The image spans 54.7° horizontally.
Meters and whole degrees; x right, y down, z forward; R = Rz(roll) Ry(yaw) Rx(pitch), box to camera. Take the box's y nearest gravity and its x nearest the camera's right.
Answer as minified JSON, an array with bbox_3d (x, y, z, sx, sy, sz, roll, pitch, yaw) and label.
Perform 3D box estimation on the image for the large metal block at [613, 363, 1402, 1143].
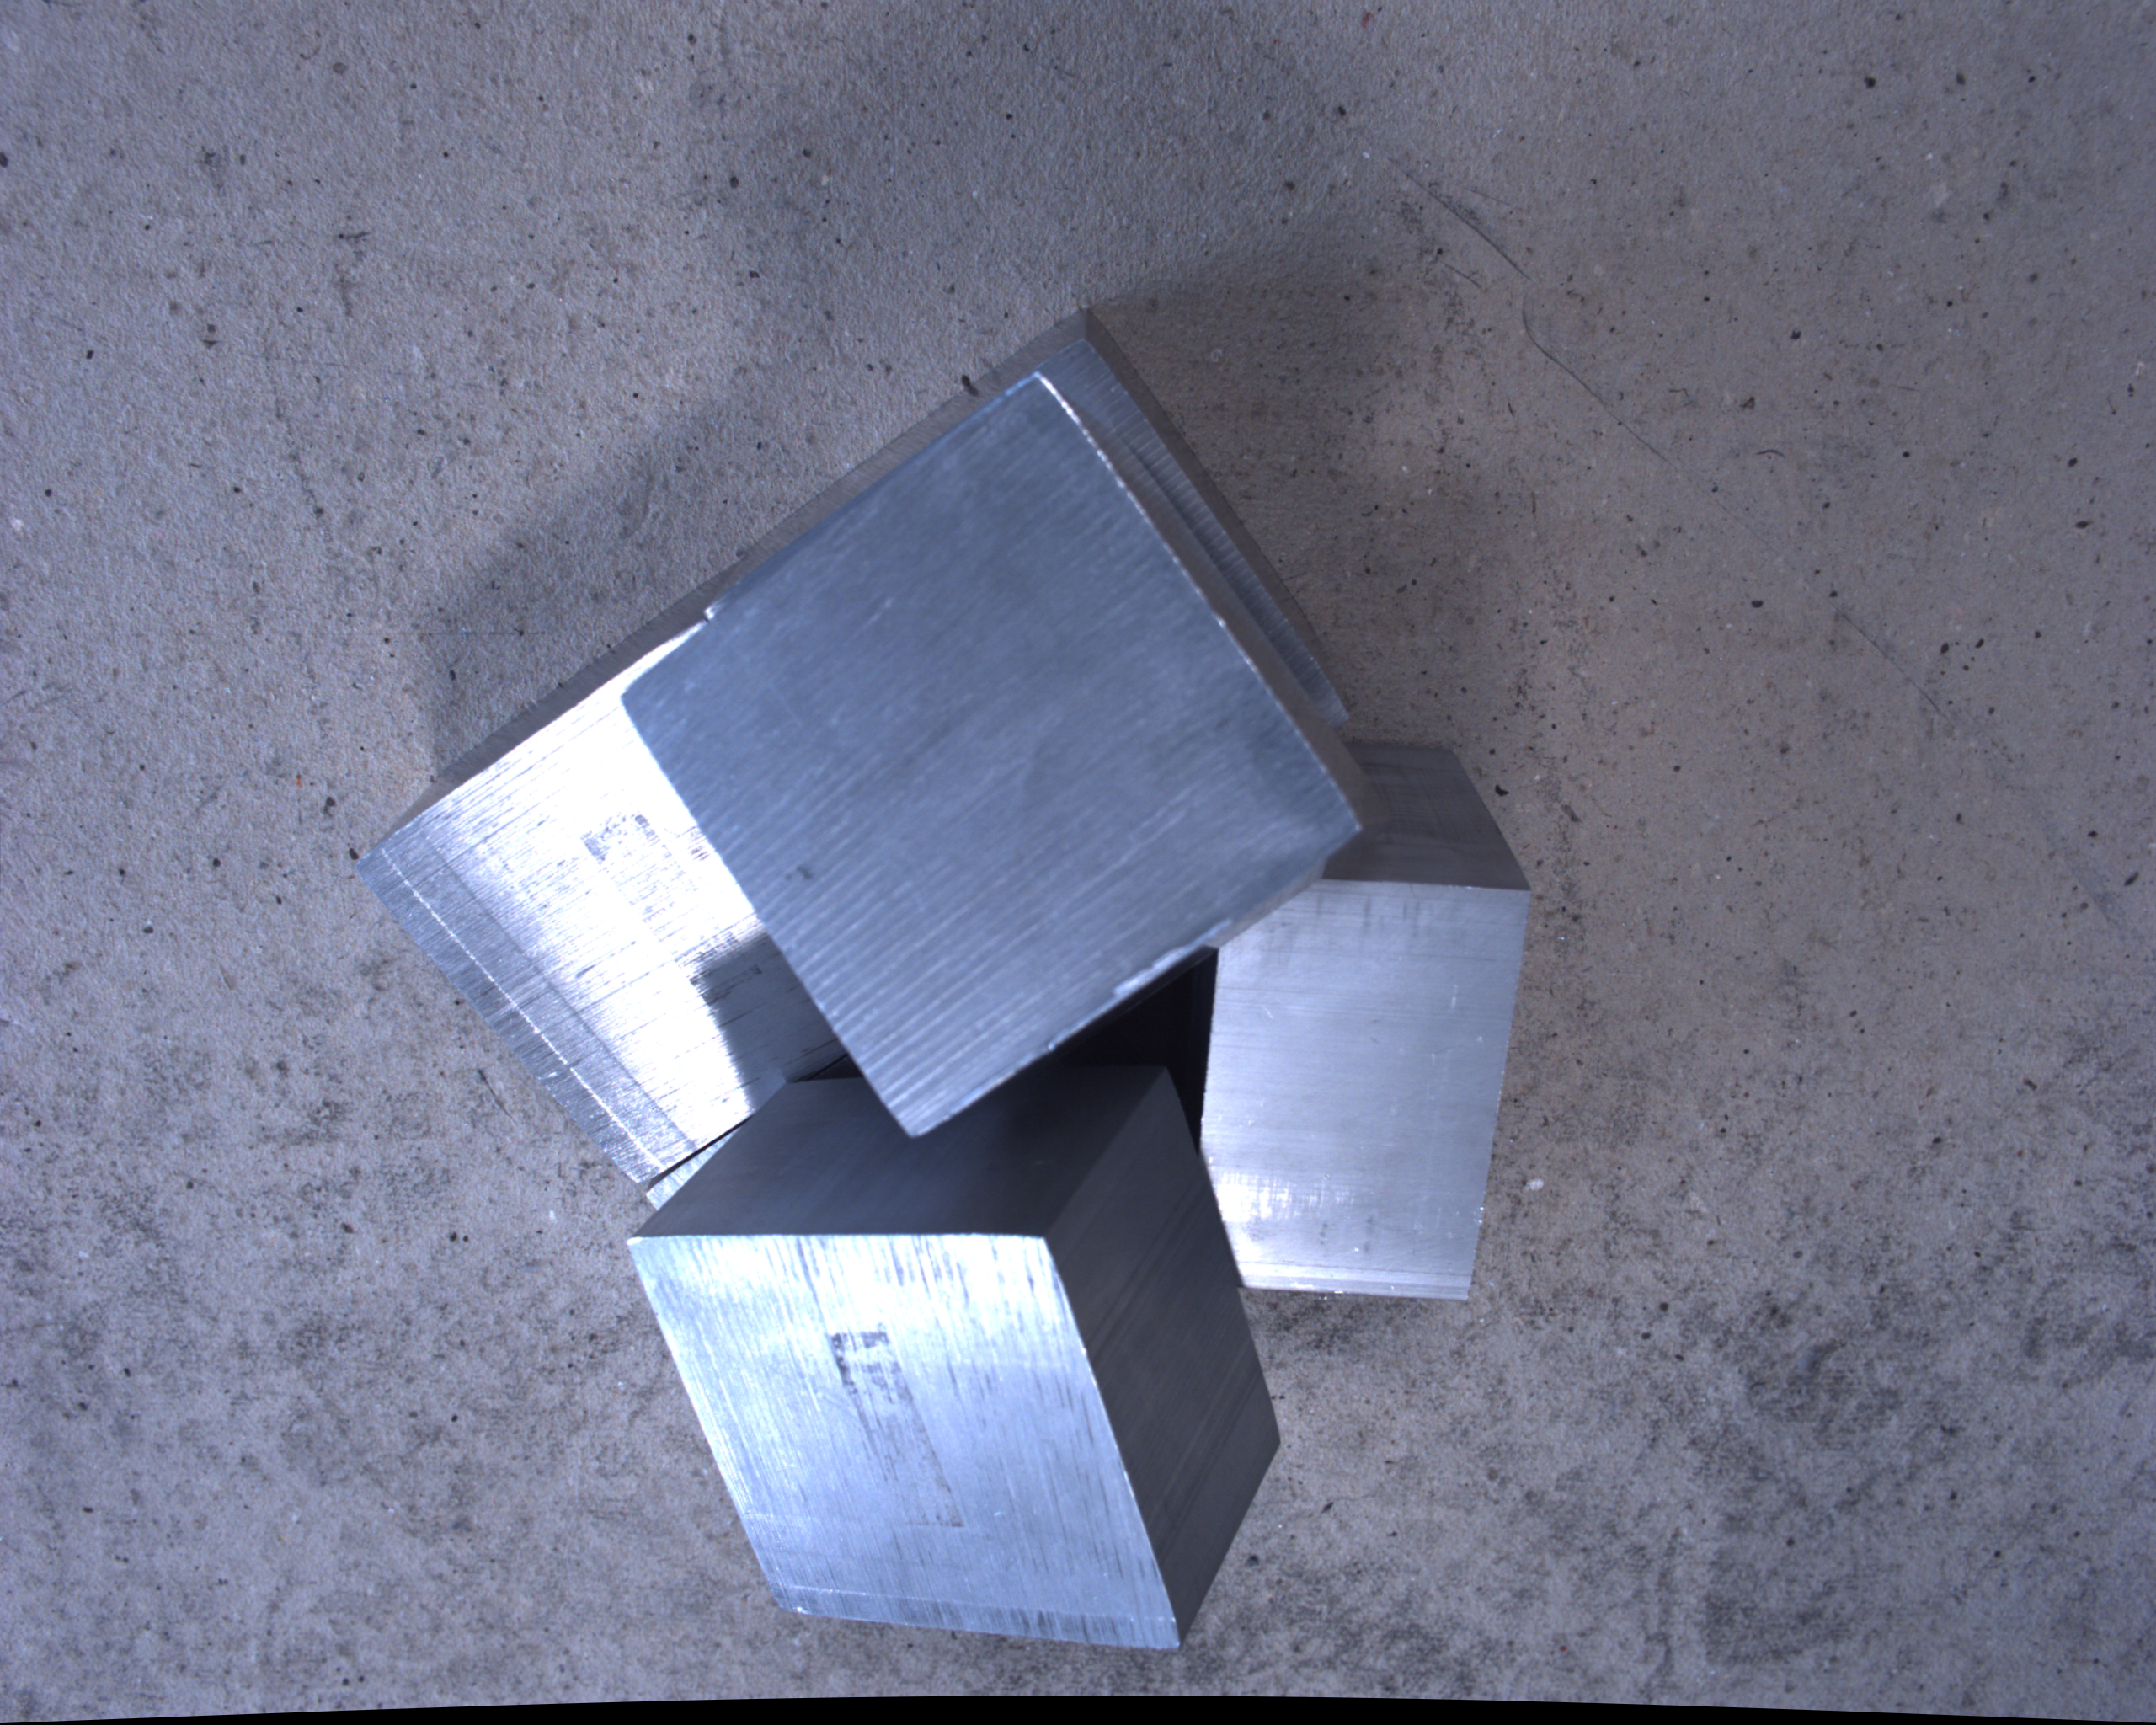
[{"bbox_3d":[-0.009,-0.016,0.321,0.080,0.050,0.080,-36,84,11],"label":"large metal block"}]

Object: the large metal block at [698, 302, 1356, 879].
[{"bbox_3d":[-0.008,-0.043,0.380,0.080,0.050,0.080,-34,107,10],"label":"large metal block"}]

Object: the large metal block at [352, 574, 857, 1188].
[{"bbox_3d":[-0.073,0.001,0.398,0.080,0.050,0.080,-34,107,11],"label":"large metal block"}]

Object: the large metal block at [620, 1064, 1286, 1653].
[{"bbox_3d":[-0.019,0.084,0.359,0.080,0.050,0.080,-6,113,28],"label":"large metal block"}]

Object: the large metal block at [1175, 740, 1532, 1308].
[{"bbox_3d":[0.047,0.026,0.392,0.050,0.080,0.079,3,110,-1],"label":"large metal block"}]

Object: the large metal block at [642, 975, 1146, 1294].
[{"bbox_3d":[-0.026,0.061,0.421,0.080,0.050,0.080,-34,107,11],"label":"large metal block"}]
